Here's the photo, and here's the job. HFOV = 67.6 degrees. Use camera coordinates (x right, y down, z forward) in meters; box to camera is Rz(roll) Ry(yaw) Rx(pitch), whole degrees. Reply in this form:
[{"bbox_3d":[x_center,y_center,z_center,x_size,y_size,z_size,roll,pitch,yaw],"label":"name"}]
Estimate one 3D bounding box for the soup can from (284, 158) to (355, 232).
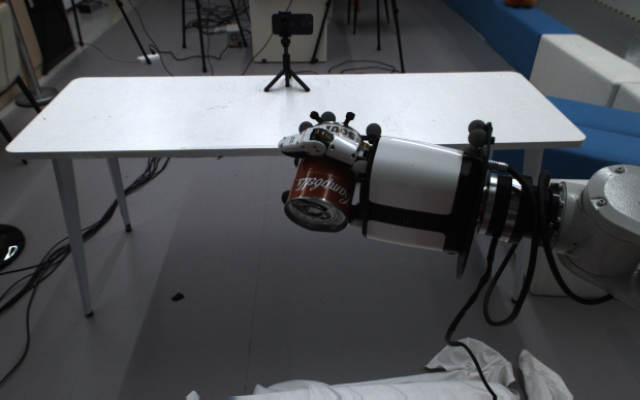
[{"bbox_3d":[0.009,-0.025,0.518,0.067,0.067,0.101,9,58,10],"label":"soup can"}]
